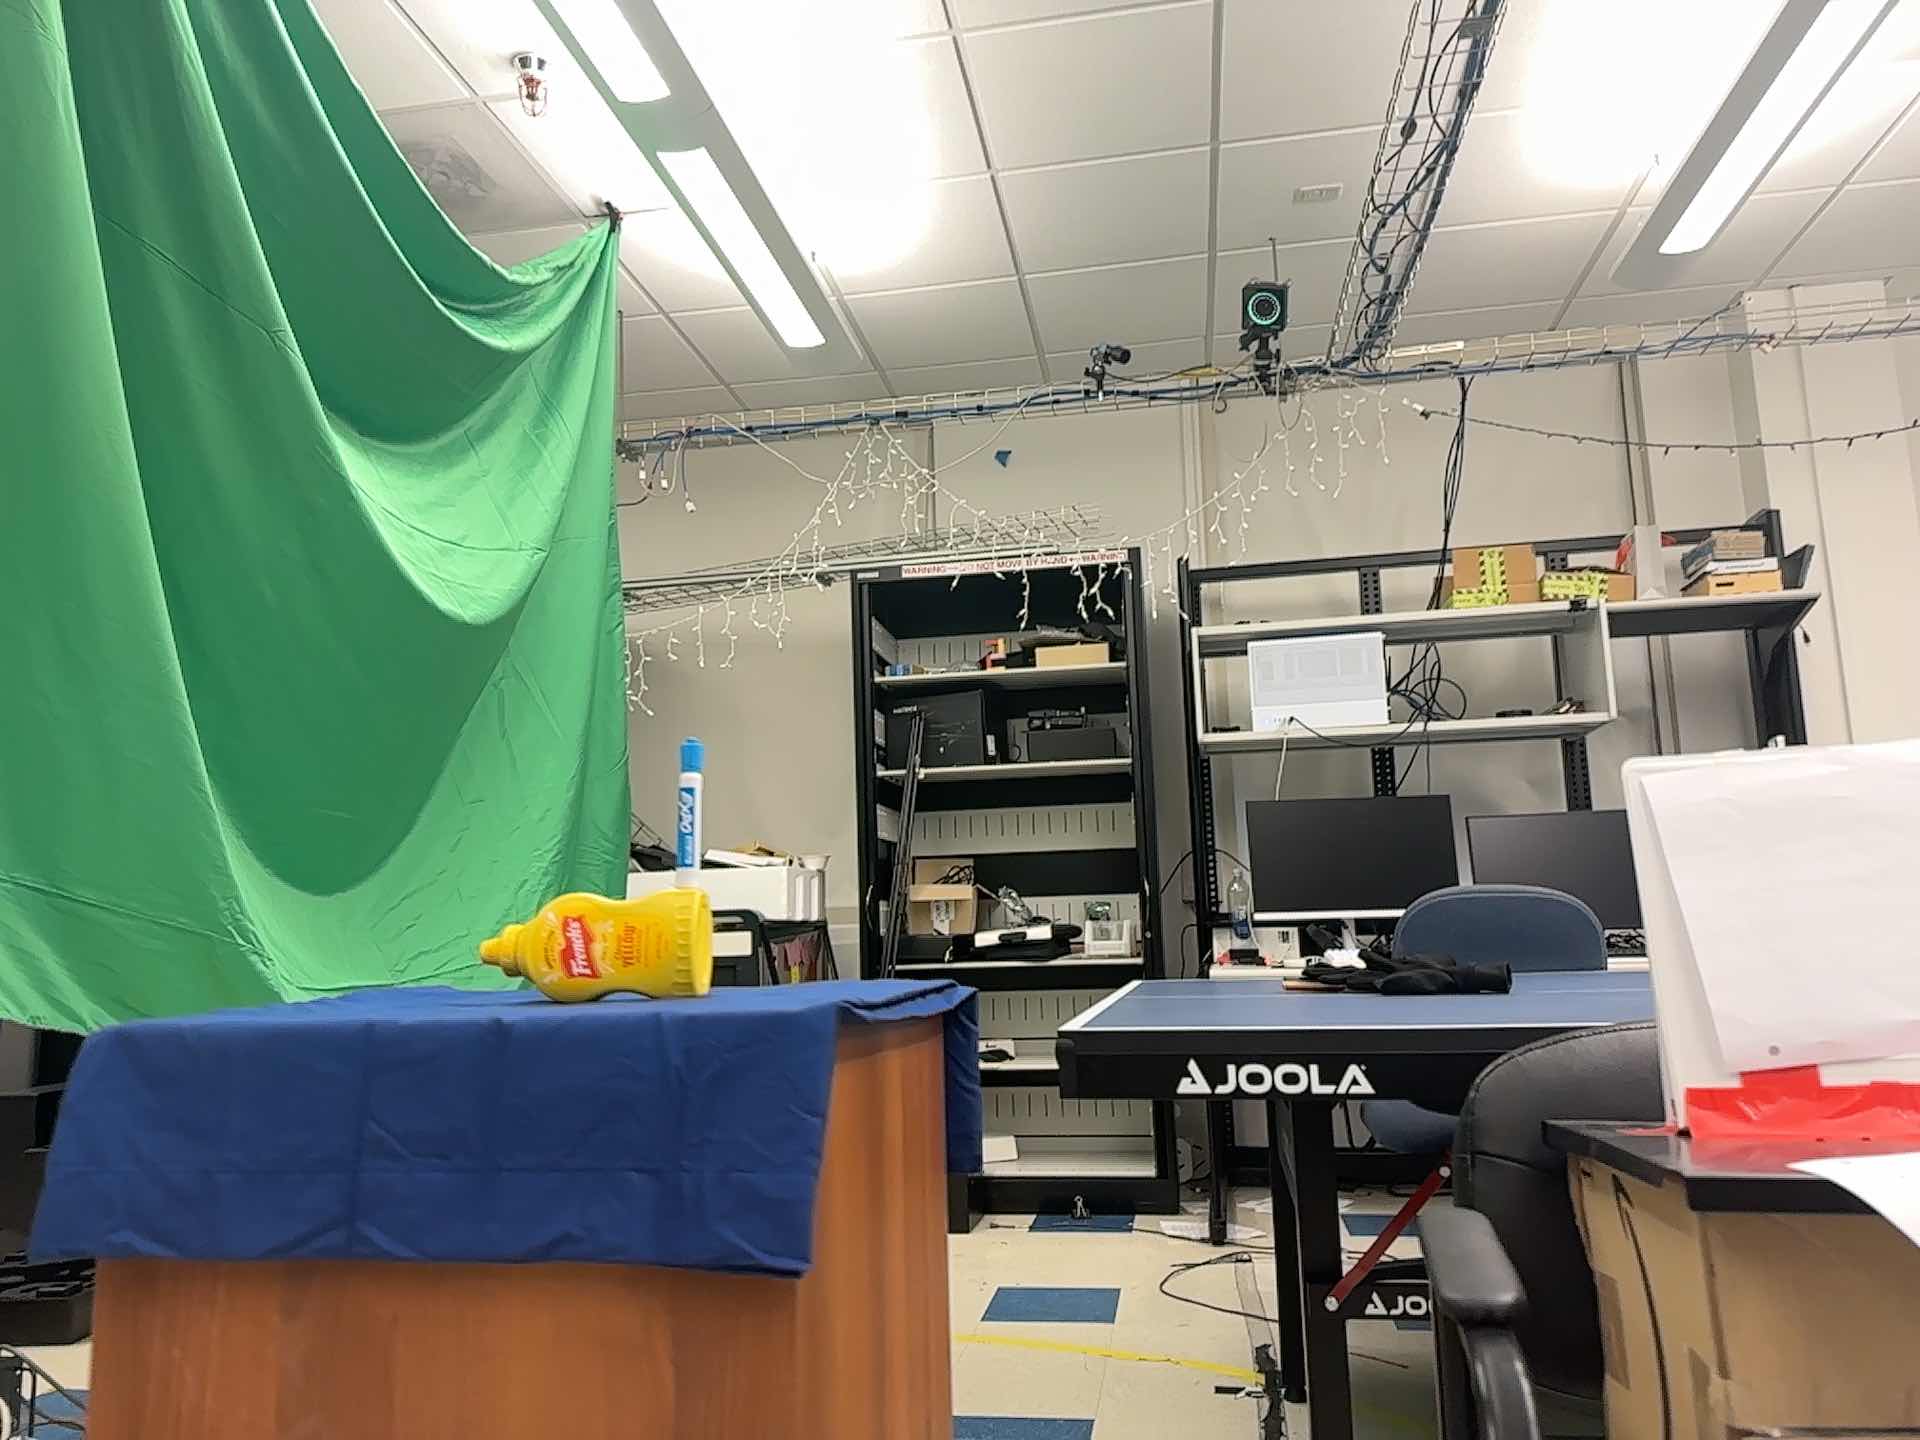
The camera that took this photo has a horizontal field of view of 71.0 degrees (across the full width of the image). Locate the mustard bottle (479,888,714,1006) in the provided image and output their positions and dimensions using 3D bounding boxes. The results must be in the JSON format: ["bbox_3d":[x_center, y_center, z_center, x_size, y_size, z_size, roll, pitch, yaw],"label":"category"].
[{"bbox_3d":[-0.293,0.182,1.074,0.184,0.092,0.054,-2,-1,4],"label":"mustard bottle"}]

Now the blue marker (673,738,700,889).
[{"bbox_3d":[-0.220,0.074,1.083,0.020,0.121,0.020,-1,-10,0],"label":"blue marker"}]
